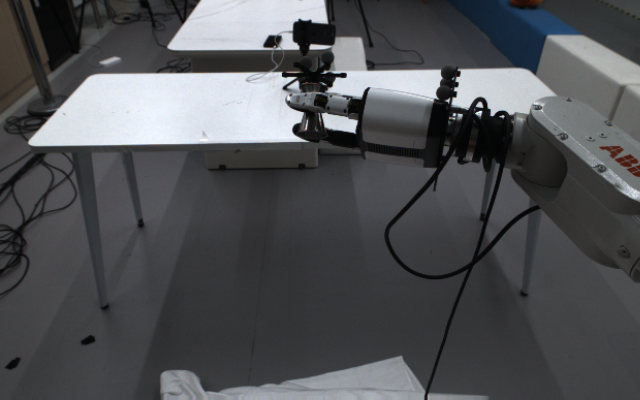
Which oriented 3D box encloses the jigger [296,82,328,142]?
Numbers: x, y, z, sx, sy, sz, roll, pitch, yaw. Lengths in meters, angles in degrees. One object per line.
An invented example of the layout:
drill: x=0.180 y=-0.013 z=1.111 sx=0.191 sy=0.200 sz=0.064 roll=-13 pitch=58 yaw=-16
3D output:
jigger: x=-0.011 y=-0.122 z=0.663 sx=0.043 sy=0.071 sz=0.043 roll=3 pitch=-6 yaw=0
